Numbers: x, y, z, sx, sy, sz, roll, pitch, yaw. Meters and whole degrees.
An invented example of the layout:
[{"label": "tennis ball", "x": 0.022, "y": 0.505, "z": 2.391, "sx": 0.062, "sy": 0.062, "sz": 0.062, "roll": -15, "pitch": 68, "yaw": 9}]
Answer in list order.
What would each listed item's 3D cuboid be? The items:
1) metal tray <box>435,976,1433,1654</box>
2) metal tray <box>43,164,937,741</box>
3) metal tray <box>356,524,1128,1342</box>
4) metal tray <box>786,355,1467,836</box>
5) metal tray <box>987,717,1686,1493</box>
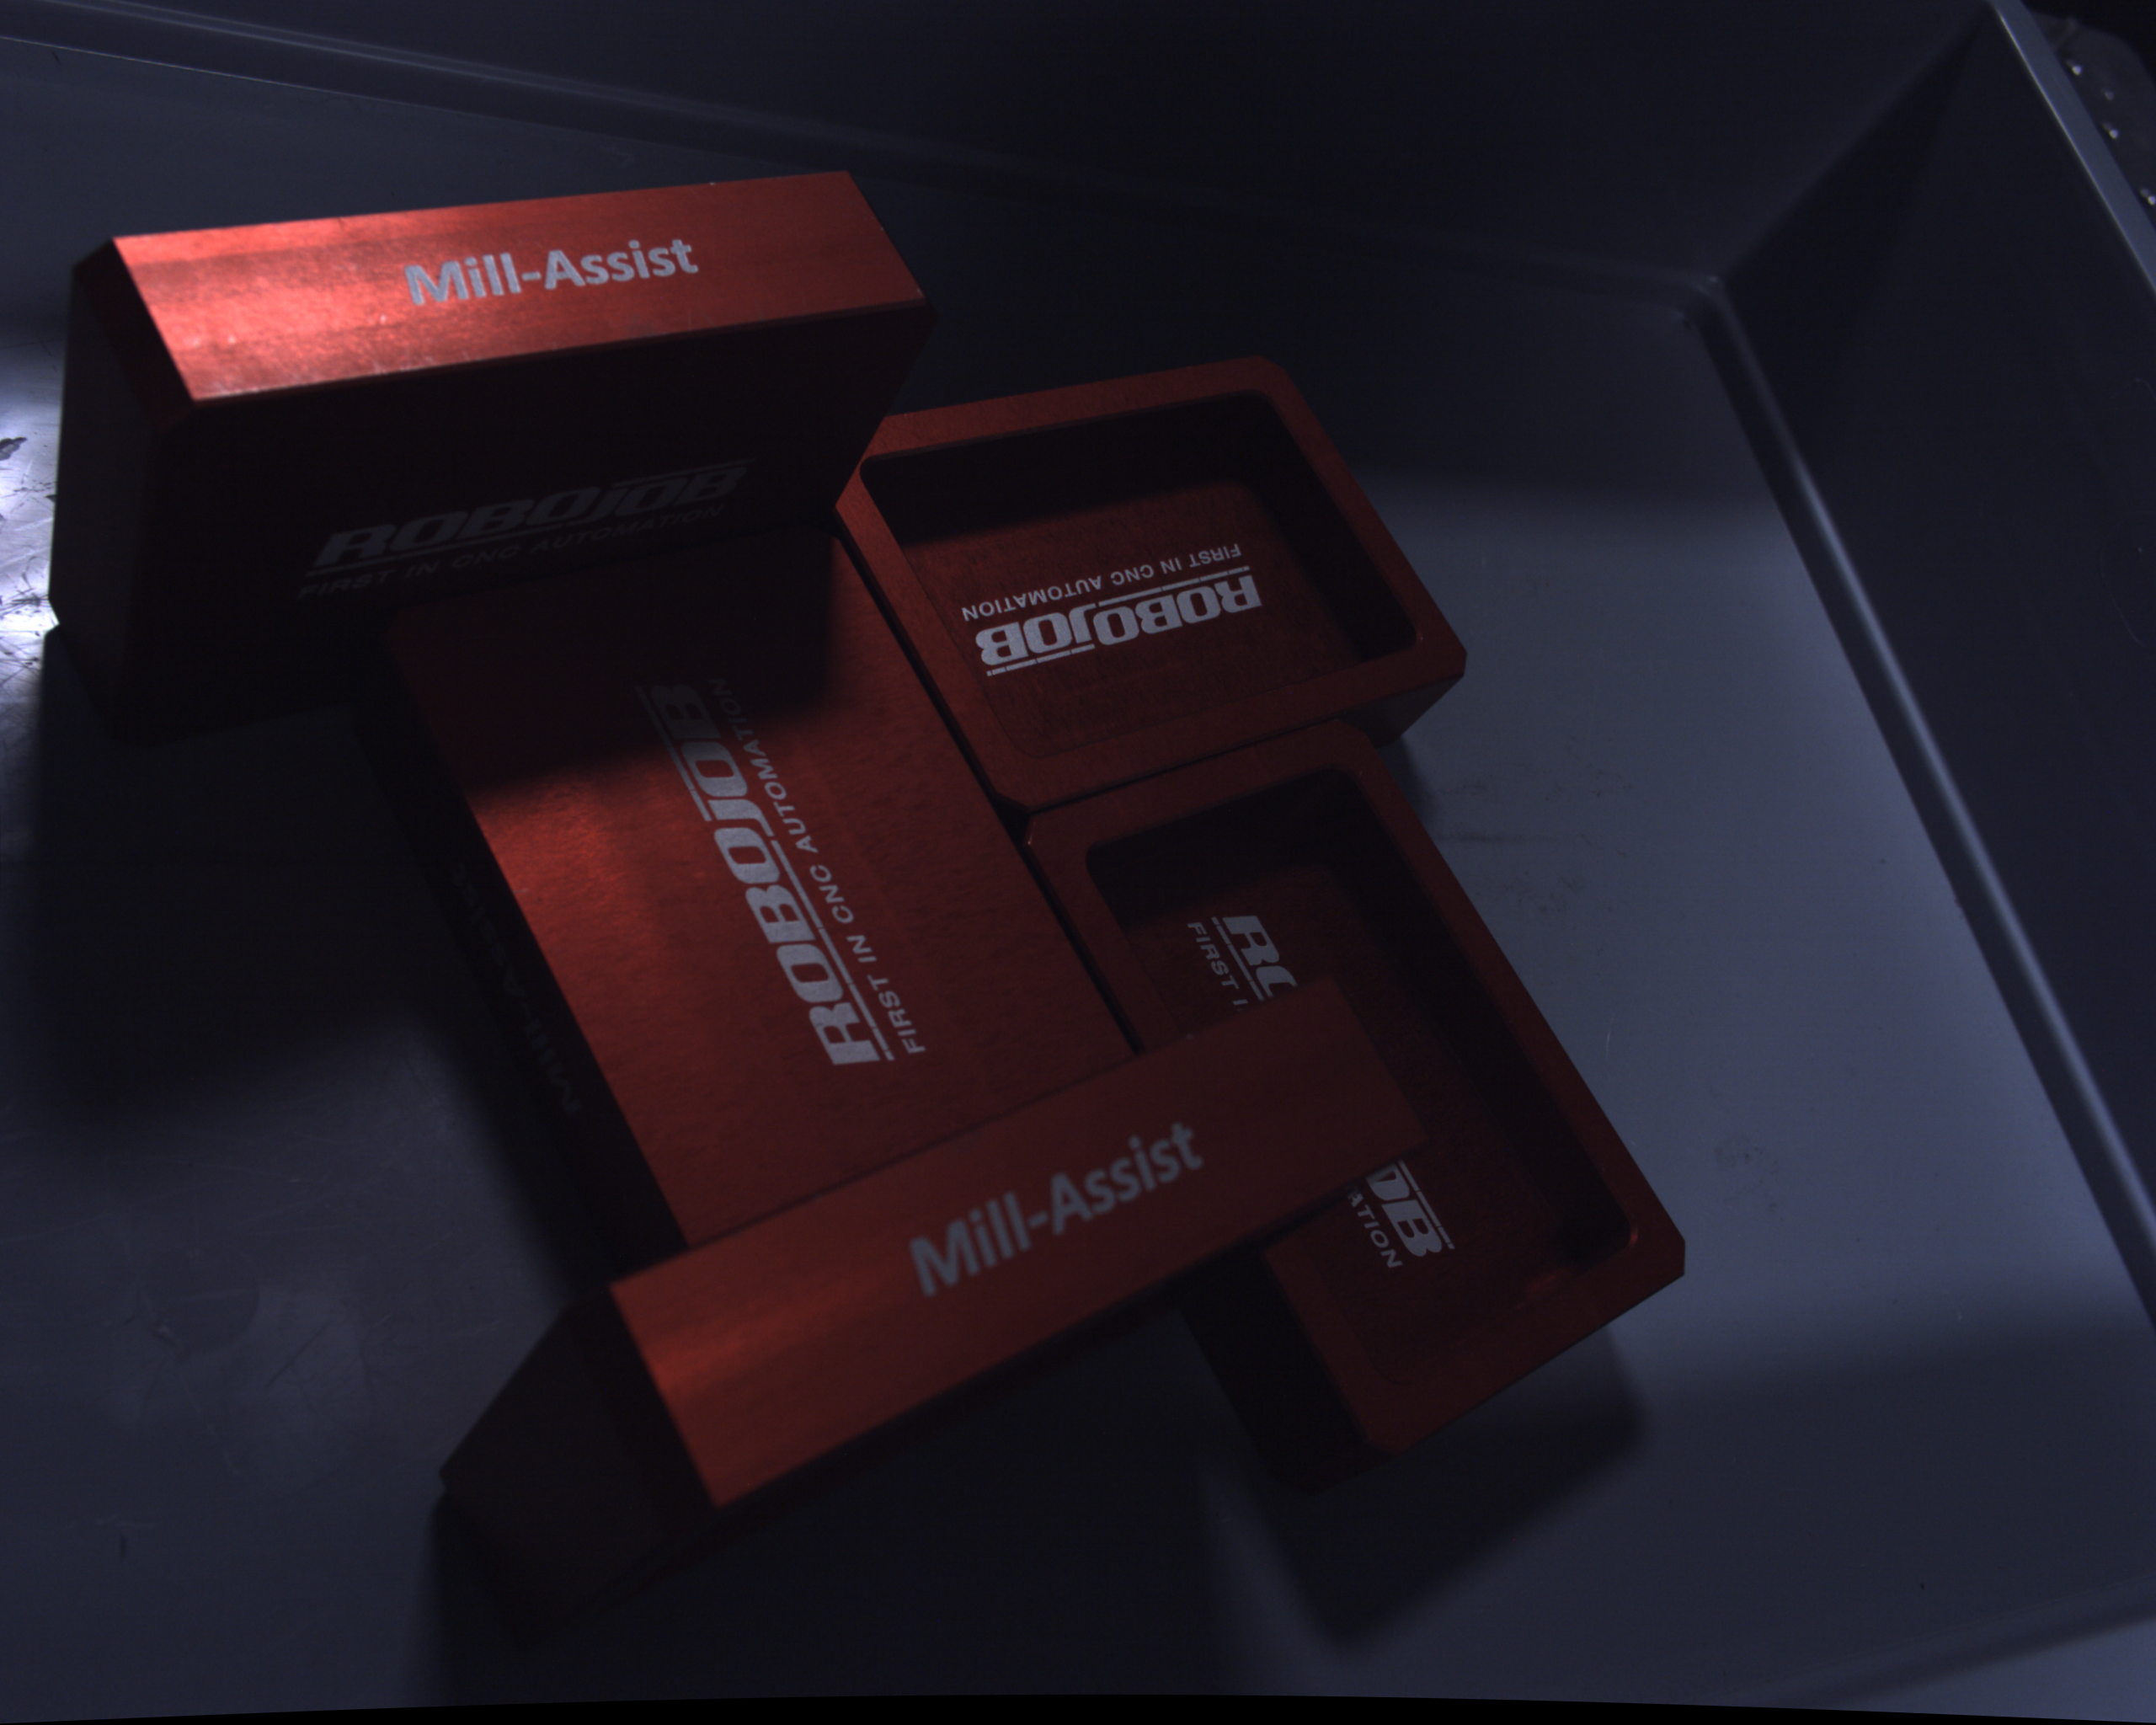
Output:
[{"label": "metal tray", "x": -0.020, "y": 0.066, "z": 0.310, "sx": 0.131, "sy": 0.090, "sz": 0.030, "roll": -19, "pitch": 72, "yaw": -35}, {"label": "metal tray", "x": -0.098, "y": -0.069, "z": 0.350, "sx": 0.131, "sy": 0.090, "sz": 0.030, "roll": -20, "pitch": 73, "yaw": -36}, {"label": "metal tray", "x": -0.057, "y": 0.008, "z": 0.365, "sx": 0.091, "sy": 0.030, "sz": 0.130, "roll": -19, "pitch": 72, "yaw": -36}, {"label": "metal tray", "x": 0.010, "y": -0.056, "z": 0.441, "sx": 0.131, "sy": 0.030, "sz": 0.090, "roll": -19, "pitch": 72, "yaw": -35}, {"label": "metal tray", "x": 0.048, "y": 0.041, "z": 0.402, "sx": 0.091, "sy": 0.030, "sz": 0.130, "roll": -19, "pitch": 72, "yaw": -36}]
